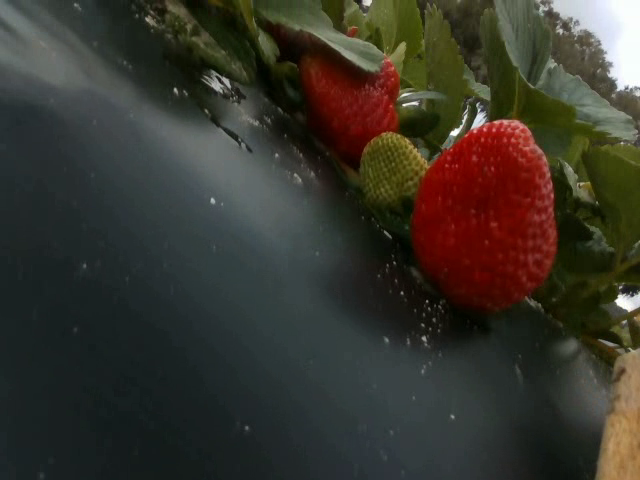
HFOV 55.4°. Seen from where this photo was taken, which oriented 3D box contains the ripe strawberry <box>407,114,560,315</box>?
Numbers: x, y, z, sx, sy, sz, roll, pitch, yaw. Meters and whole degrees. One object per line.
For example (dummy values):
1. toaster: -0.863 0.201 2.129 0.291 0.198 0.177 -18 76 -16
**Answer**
1. ripe strawberry: 0.056 -0.012 0.185 0.057 0.056 0.065 -6 -23 -10
